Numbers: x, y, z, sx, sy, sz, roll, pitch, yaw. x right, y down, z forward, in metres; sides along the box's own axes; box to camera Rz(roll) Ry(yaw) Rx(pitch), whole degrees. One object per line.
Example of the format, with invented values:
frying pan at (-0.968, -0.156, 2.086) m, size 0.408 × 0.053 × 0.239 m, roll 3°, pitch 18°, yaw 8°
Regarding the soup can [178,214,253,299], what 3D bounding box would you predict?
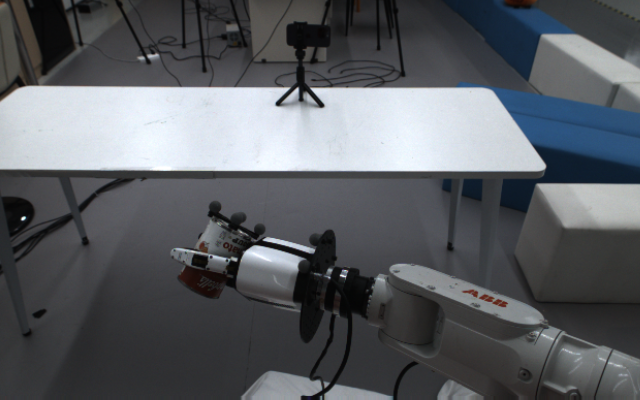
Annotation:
soup can at (-0.152, 0.085, 0.704) m, size 0.067 × 0.101 × 0.067 m, roll 29°, pitch -2°, yaw 1°
